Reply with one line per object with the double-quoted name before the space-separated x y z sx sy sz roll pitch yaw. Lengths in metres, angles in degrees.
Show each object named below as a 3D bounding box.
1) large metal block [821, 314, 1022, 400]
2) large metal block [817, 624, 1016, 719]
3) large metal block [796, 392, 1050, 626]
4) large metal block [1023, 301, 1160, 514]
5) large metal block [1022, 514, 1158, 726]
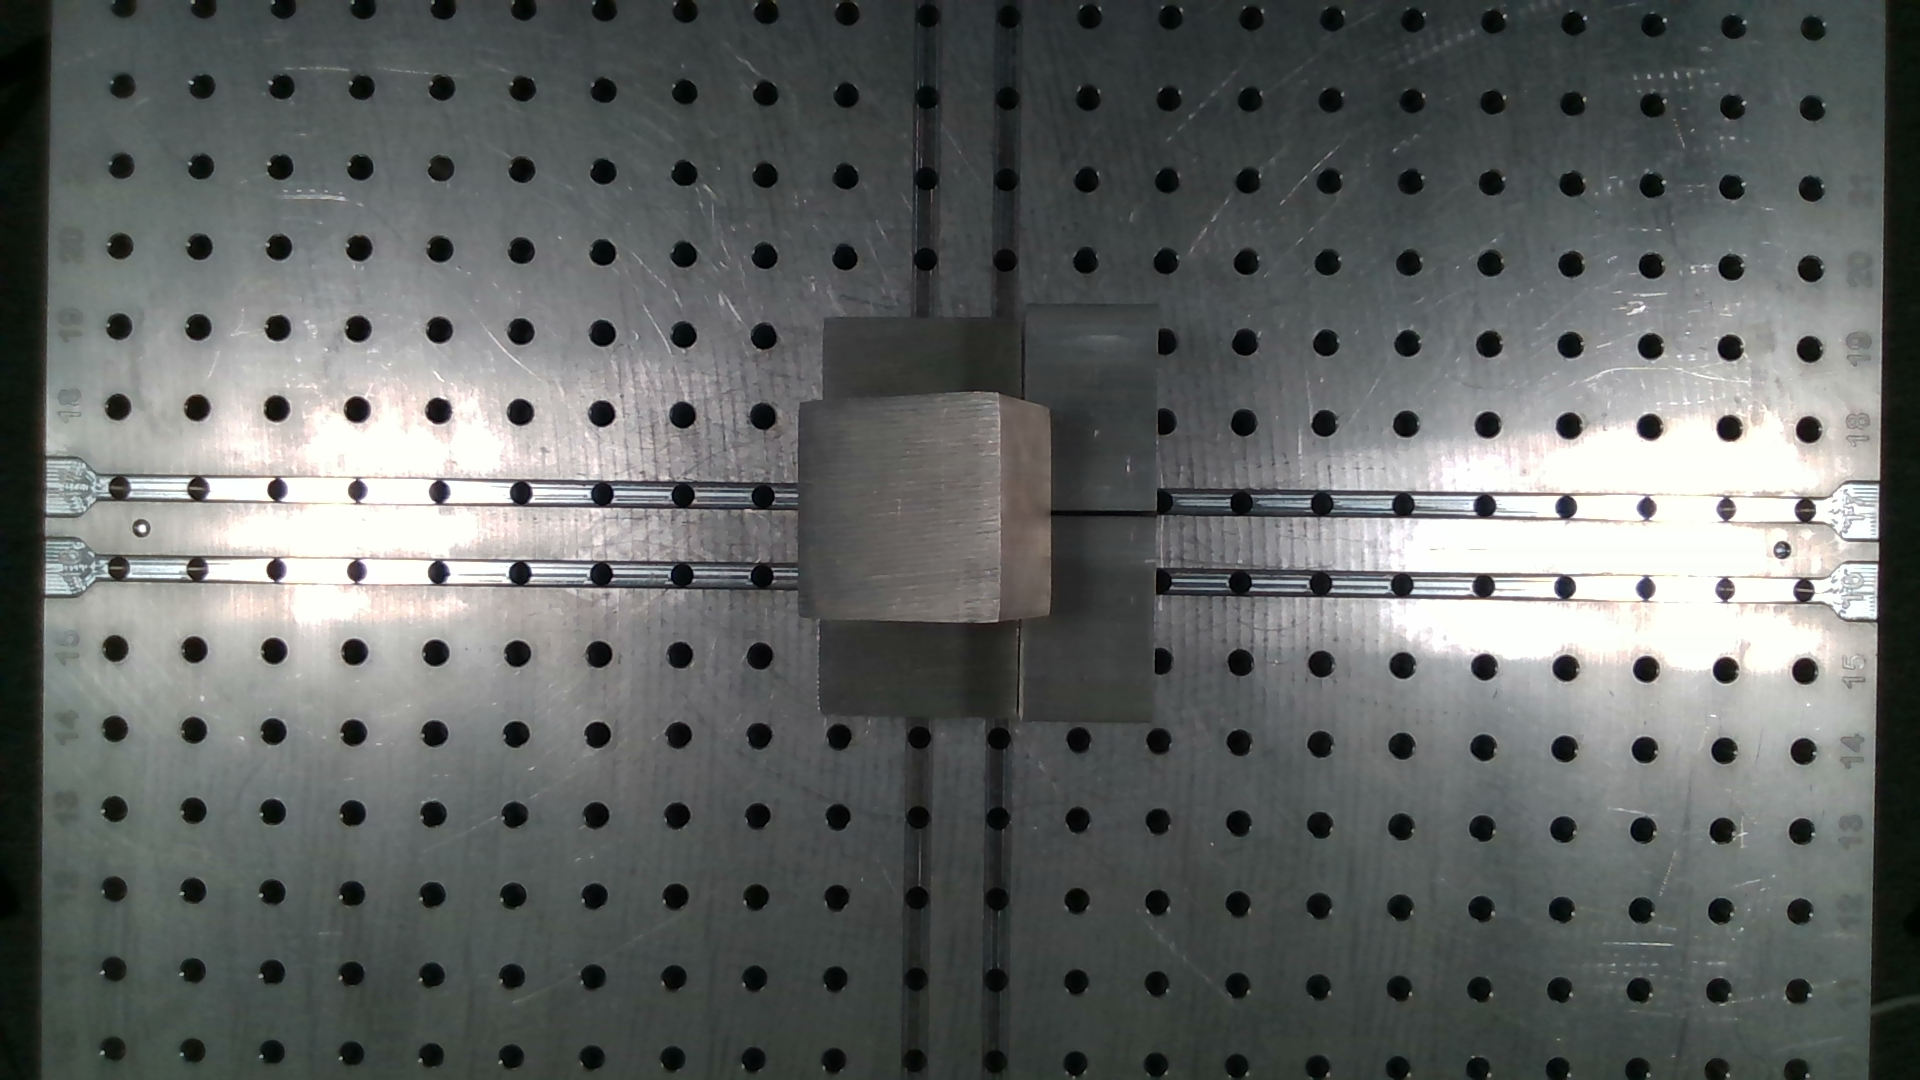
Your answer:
"large metal block" -0.016 -0.050 0.575 0.080 0.050 0.080 1 90 0
"large metal block" -0.017 0.031 0.575 0.080 0.050 0.080 1 90 0
"large metal block" -0.013 -0.011 0.510 0.080 0.050 0.080 0 90 24
"large metal block" 0.050 -0.050 0.560 0.050 0.080 0.080 1 90 0
"large metal block" 0.049 0.030 0.561 0.050 0.080 0.080 1 90 0
